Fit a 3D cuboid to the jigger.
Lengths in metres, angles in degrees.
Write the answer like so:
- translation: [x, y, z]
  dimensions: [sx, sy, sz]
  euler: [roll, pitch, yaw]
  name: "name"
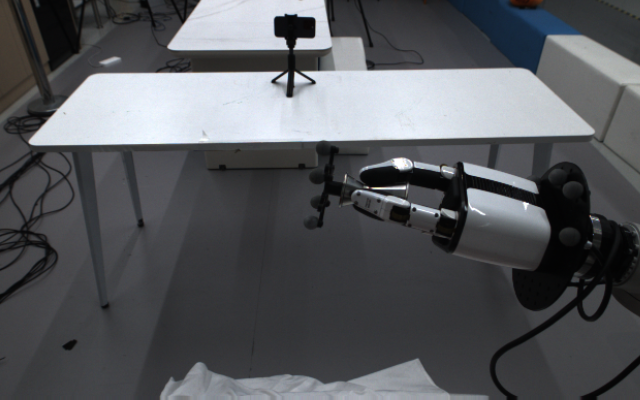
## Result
- translation: [0.064, -0.007, 0.522]
  dimensions: [0.071, 0.043, 0.043]
  euler: [11, 35, 3]
  name: "jigger"
